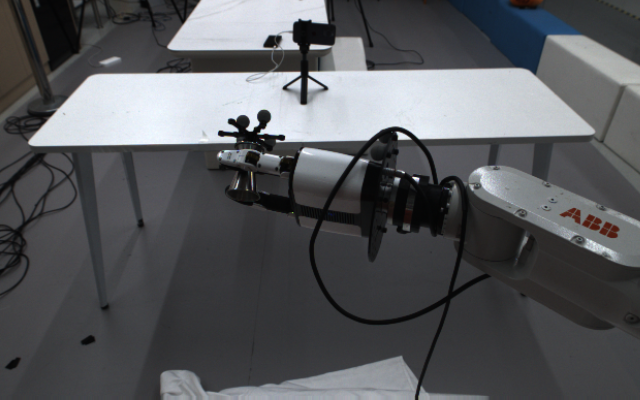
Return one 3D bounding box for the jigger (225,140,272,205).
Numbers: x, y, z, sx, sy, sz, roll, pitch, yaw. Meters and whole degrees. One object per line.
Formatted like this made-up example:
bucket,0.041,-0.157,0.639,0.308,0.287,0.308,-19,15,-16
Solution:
jigger,-0.096,-0.037,0.625,0.043,0.043,0.071,4,71,3
